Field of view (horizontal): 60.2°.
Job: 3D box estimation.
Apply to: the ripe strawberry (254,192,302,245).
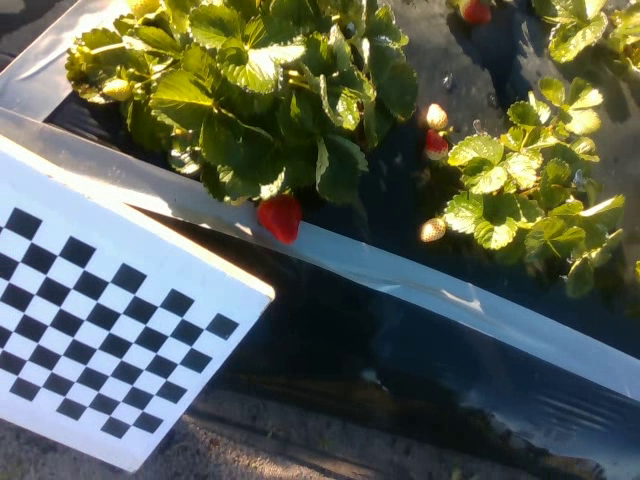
[{"bbox_3d":[-0.037,-0.019,0.514,0.045,0.064,0.049,-27,-37,13],"label":"ripe strawberry"}]
